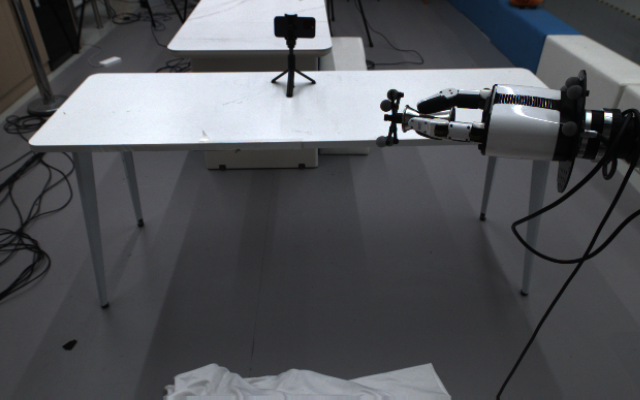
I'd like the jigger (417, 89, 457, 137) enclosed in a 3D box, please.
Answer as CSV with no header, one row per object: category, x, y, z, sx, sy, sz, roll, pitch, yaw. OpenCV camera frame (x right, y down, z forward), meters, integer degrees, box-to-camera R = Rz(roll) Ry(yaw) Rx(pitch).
jigger,0.161,-0.118,0.694,0.071,0.043,0.043,8,34,23
